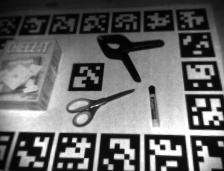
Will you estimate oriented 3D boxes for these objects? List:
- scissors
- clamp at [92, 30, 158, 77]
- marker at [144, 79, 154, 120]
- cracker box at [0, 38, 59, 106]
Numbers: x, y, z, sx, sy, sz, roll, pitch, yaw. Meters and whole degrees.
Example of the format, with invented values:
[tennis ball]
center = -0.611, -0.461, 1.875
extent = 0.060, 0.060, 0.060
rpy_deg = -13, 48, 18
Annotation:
[scissors]
center = -0.041, 0.033, 0.608
extent = 0.203, 0.016, 0.087
rpy_deg = -25, 60, -10
[clamp]
center = 0.021, -0.129, 0.697
extent = 0.201, 0.037, 0.166
rpy_deg = 28, 66, 20
[marker]
center = 0.100, 0.035, 0.589
extent = 0.019, 0.020, 0.120
rpy_deg = -3, 60, 6
[cracker box]
center = -0.269, -0.047, 0.652
extent = 0.163, 0.072, 0.213
rpy_deg = 1, 61, 8
